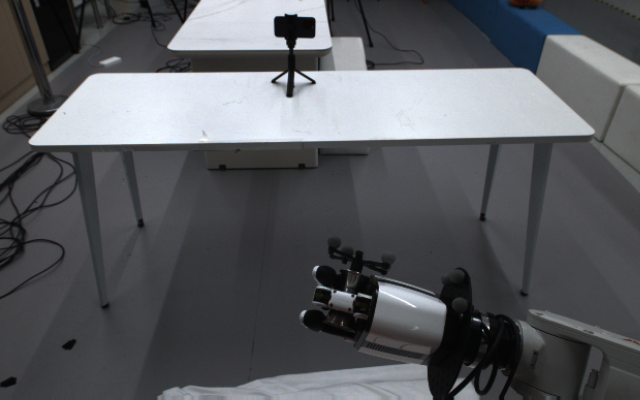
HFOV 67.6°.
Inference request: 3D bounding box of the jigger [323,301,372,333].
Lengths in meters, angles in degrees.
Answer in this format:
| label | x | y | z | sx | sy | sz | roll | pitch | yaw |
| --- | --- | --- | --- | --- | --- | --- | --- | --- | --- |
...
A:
| label | x | y | z | sx | sy | sz | roll | pitch | yaw |
| --- | --- | --- | --- | --- | --- | --- | --- | --- | --- |
| jigger | 0.037 | 0.124 | 0.601 | 0.043 | 0.043 | 0.071 | 12 | 71 | 14 |
